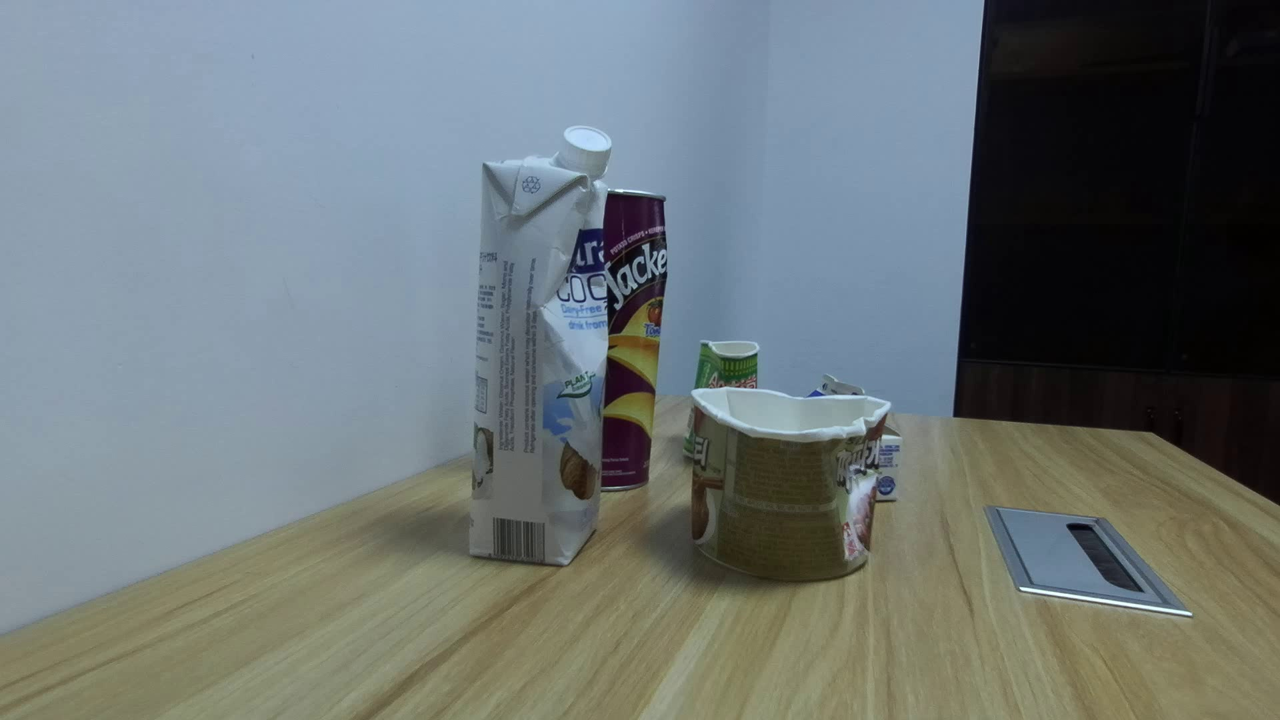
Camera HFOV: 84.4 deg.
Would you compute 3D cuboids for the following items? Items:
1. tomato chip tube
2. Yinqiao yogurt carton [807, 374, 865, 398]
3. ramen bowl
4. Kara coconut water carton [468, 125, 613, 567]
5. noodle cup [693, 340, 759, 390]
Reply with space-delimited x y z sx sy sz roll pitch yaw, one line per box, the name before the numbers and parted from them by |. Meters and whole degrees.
tomato chip tube | -0.028 -0.017 0.585 0.077 0.235 0.076 6 10 39
Yinqiao yogurt carton | 0.162 0.061 0.573 0.074 0.091 0.075 1 7 -13
ramen bowl | 0.085 0.071 0.432 0.113 0.097 0.134 5 7 22
Kara coconut water carton | -0.060 -0.011 0.431 0.078 0.255 0.083 7 8 24
noodle cup | 0.079 0.038 0.671 0.070 0.111 0.115 4 8 17
